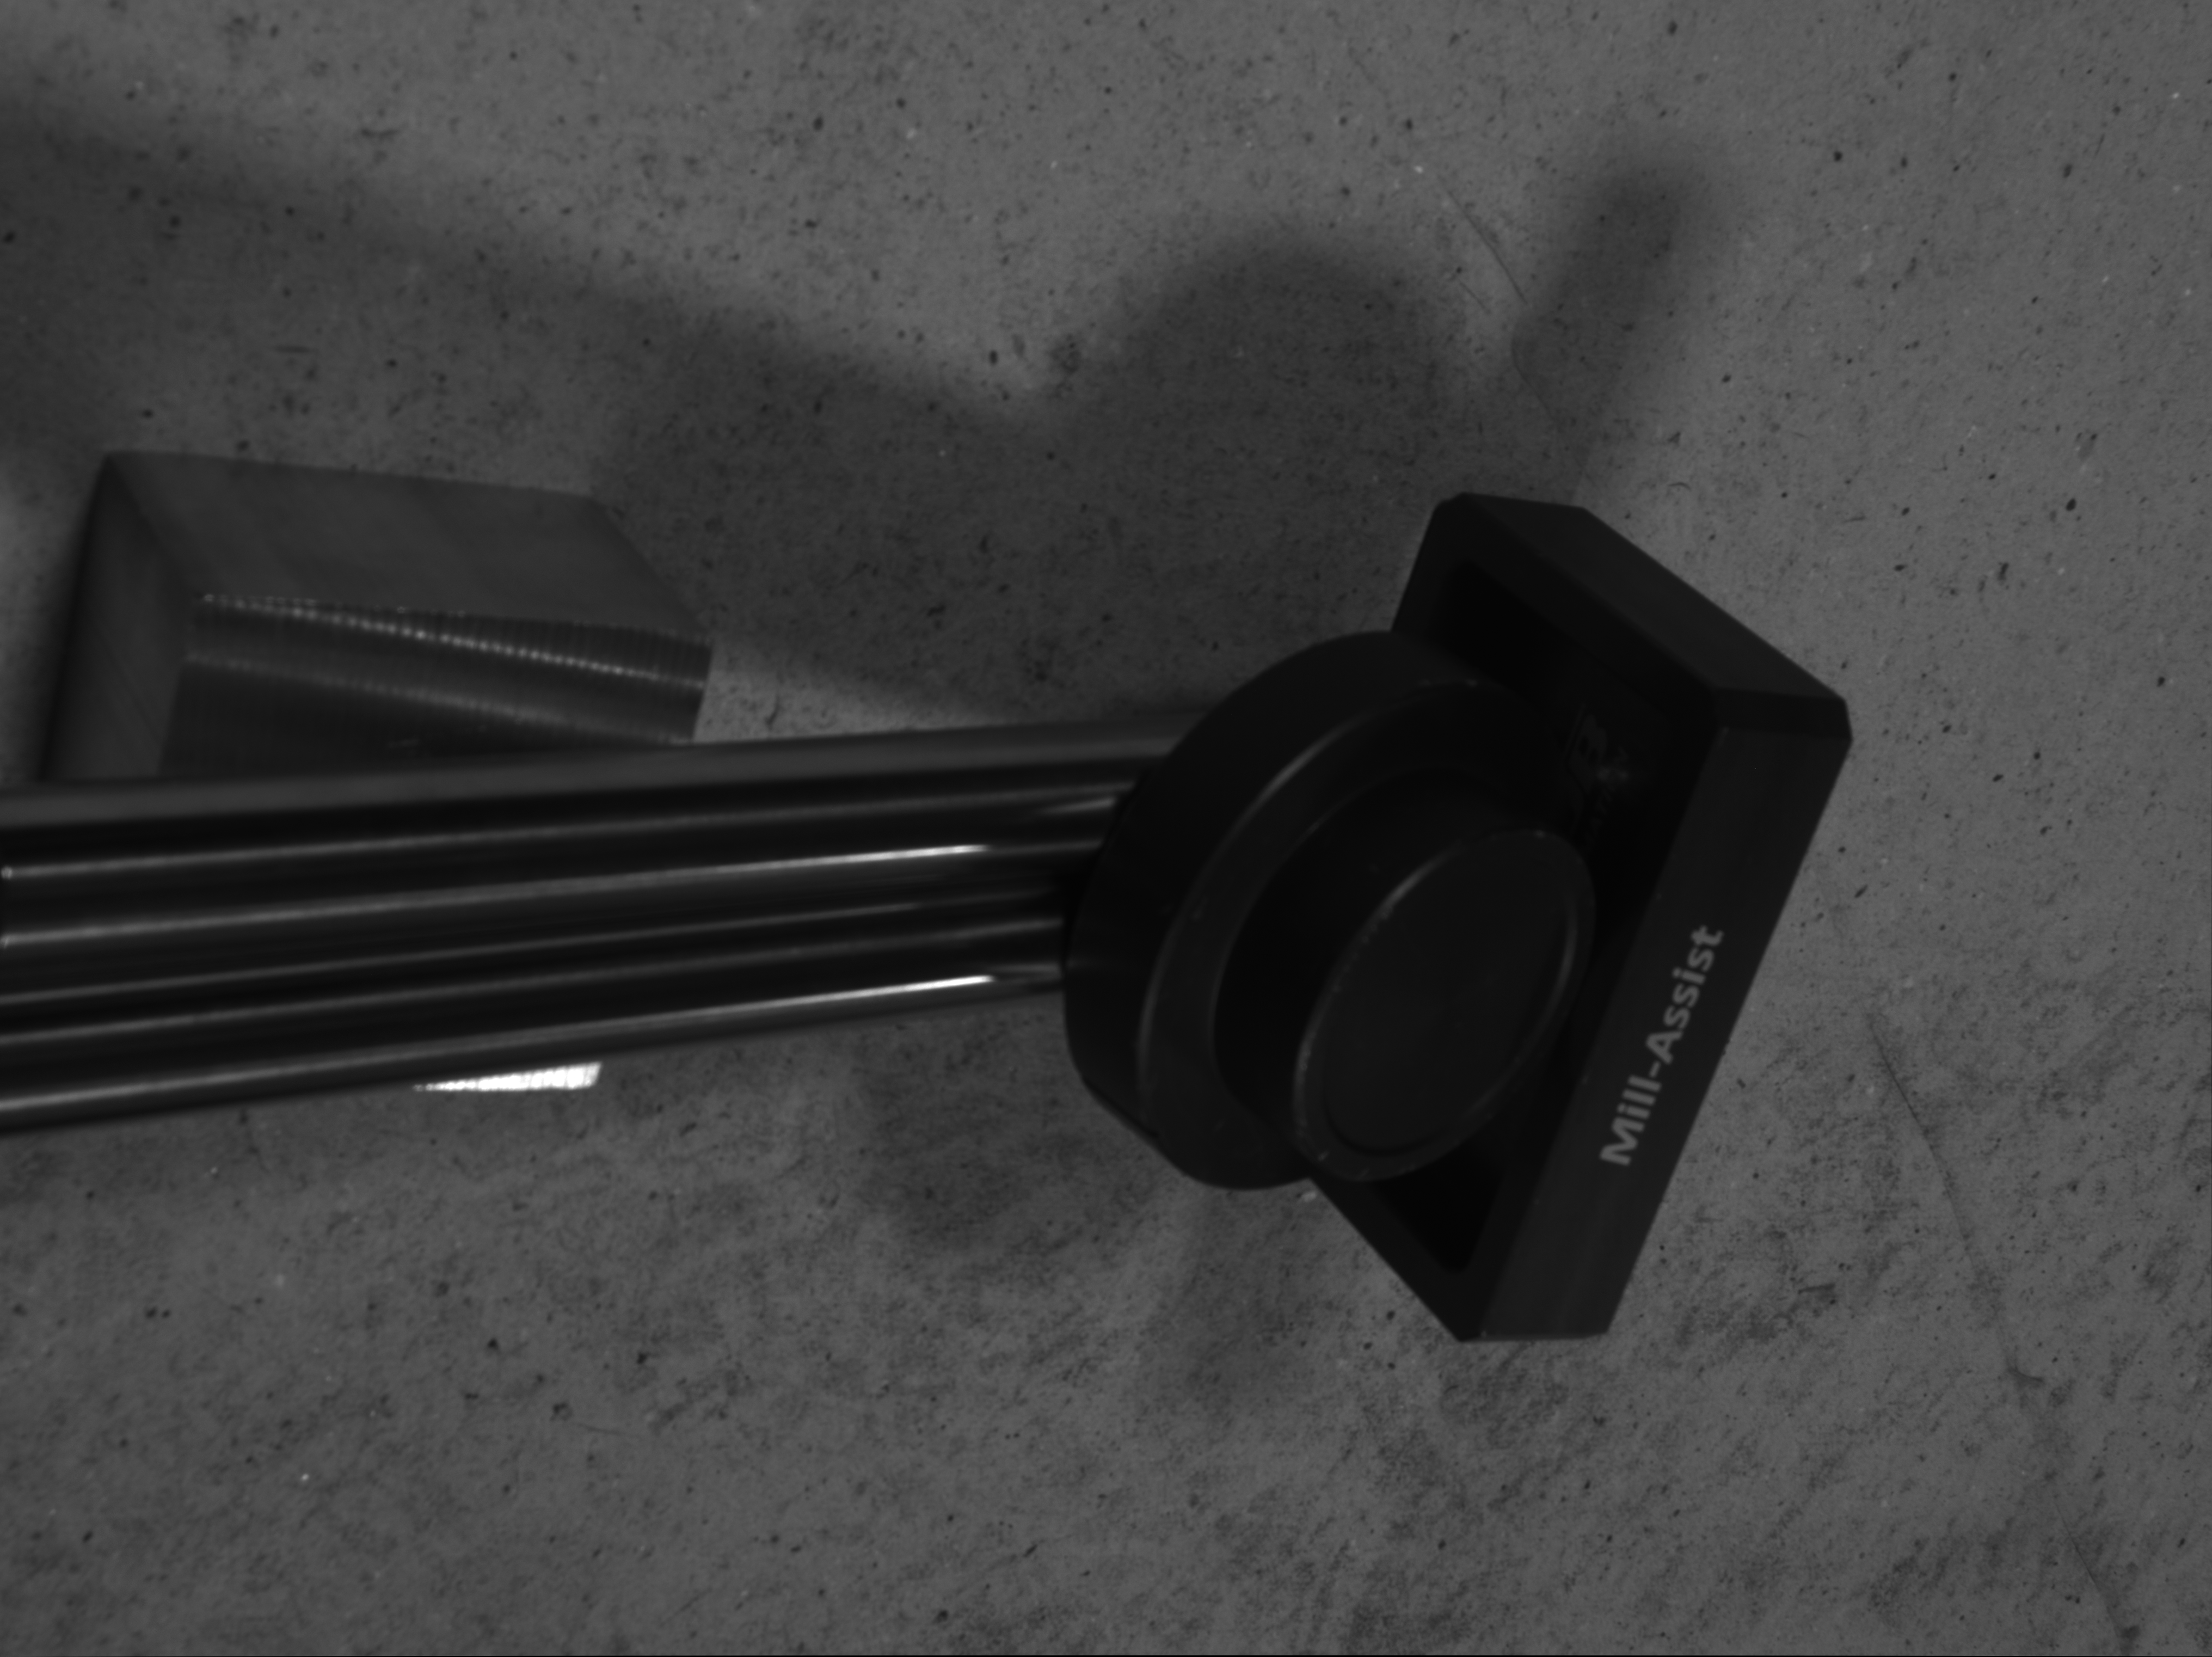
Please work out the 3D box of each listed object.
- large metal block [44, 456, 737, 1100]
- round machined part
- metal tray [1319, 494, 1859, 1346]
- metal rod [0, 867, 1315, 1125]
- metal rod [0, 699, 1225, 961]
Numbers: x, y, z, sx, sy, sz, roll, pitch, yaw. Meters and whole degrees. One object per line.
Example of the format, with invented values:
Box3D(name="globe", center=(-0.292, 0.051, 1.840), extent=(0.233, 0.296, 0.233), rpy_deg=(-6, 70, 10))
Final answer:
Box3D(name="large metal block", center=(-0.112, -0.006, 0.561), extent=(0.080, 0.050, 0.080), rpy_deg=(3, 116, -32))
Box3D(name="round machined part", center=(0.044, 0.020, 0.614), extent=(0.098, 0.042, 0.098), rpy_deg=(-24, 134, -28))
Box3D(name="metal tray", center=(0.077, 0.016, 0.663), extent=(0.030, 0.090, 0.130), rpy_deg=(4, 116, -32))
Box3D(name="metal rod", center=(-0.049, 0.019, 0.576), extent=(0.301, 0.025, 0.025), rpy_deg=(-4, 121, -43))
Box3D(name="metal rod", center=(-0.041, -0.004, 0.566), extent=(0.301, 0.025, 0.025), rpy_deg=(-5, 121, -42))
